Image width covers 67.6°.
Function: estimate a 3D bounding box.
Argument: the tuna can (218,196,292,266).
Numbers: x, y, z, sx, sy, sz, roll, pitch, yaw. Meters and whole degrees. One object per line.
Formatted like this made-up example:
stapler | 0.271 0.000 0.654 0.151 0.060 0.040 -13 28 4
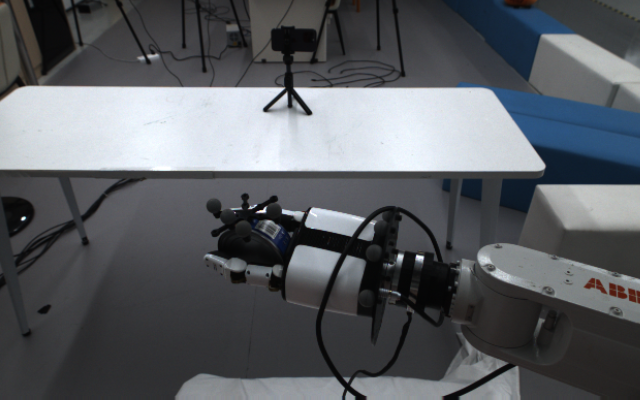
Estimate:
tuna can | -0.073 0.056 0.576 0.085 0.085 0.034 14 41 16
